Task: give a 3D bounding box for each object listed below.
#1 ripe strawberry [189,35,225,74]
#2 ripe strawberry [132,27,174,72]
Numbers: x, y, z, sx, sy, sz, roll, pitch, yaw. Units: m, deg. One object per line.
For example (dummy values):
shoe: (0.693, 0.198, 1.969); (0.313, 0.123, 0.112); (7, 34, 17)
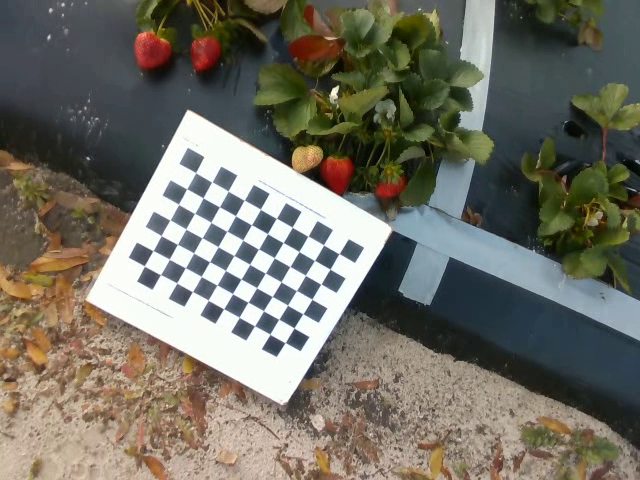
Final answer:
ripe strawberry: (-0.149, -0.244, 0.798); (0.042, 0.053, 0.034); (14, -25, 1)
ripe strawberry: (-0.215, -0.241, 0.791); (0.050, 0.061, 0.045); (19, -29, 0)
